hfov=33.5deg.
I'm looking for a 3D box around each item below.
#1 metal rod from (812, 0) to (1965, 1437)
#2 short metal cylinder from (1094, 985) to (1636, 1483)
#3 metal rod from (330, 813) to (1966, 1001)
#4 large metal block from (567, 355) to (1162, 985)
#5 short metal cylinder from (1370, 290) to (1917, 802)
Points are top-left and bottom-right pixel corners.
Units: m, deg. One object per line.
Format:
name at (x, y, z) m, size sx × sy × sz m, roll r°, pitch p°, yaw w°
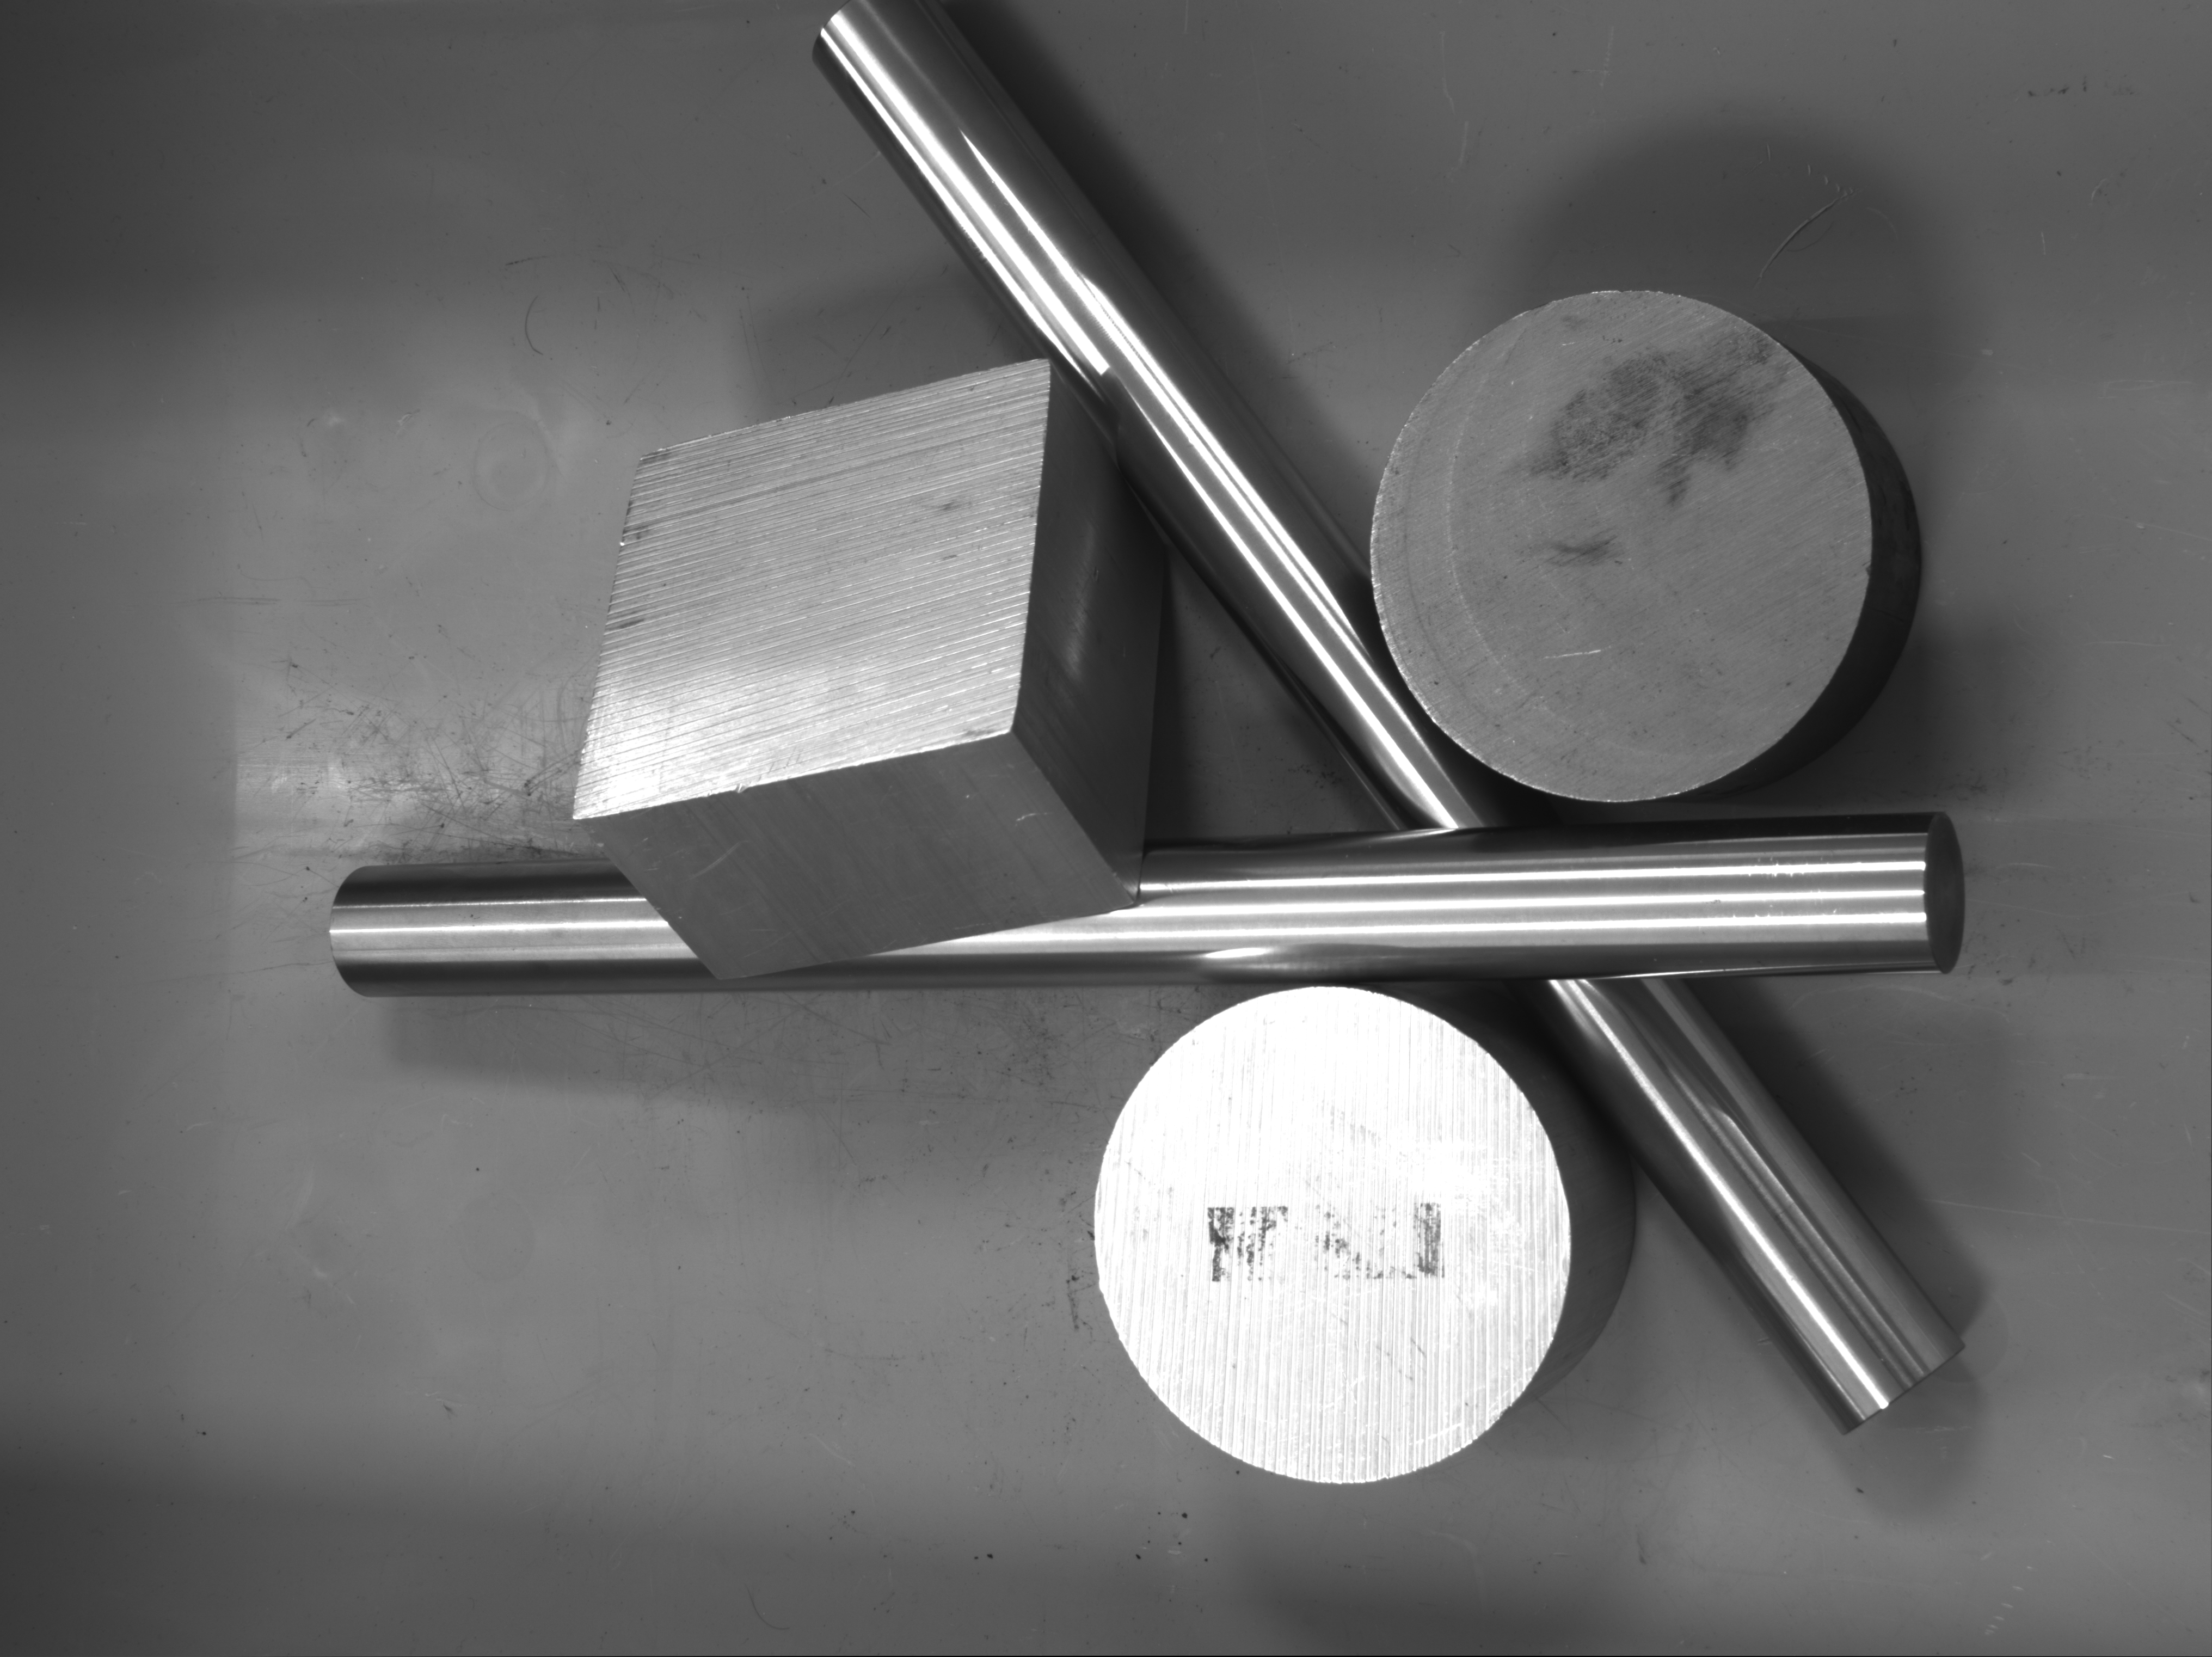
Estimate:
metal rod at (0.044, -0.027, 0.630) m, size 0.025 × 0.025 × 0.300 m, roll -39°, pitch 77°, yaw 16°
short metal cylinder at (0.044, 0.066, 0.616) m, size 0.080 × 0.050 × 0.080 m, roll 0°, pitch 90°, yaw 20°
metal rod at (-0.005, 0.015, 0.629) m, size 0.299 × 0.025 × 0.025 m, roll -2°, pitch 89°, yaw 26°
large metal block at (-0.039, -0.026, 0.627) m, size 0.080 × 0.050 × 0.080 m, roll -11°, pitch 51°, yaw 20°
short metal cylinder at (0.089, -0.045, 0.600) m, size 0.080 × 0.050 × 0.080 m, roll 0°, pitch 90°, yaw 20°
